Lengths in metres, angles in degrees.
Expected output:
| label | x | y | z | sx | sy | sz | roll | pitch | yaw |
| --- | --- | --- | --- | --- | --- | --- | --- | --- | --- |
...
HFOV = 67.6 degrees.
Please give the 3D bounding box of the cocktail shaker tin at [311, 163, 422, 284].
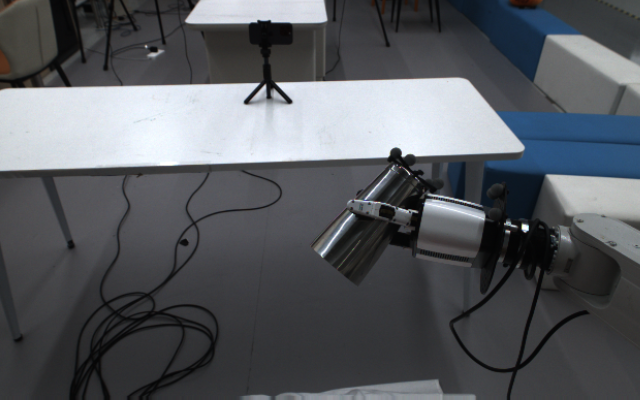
| label | x | y | z | sx | sy | sz | roll | pitch | yaw |
| --- | --- | --- | --- | --- | --- | --- | --- | --- | --- |
| cocktail shaker tin | 0.075 | 0.027 | 0.708 | 0.170 | 0.093 | 0.093 | -49 | 49 | -3 |
